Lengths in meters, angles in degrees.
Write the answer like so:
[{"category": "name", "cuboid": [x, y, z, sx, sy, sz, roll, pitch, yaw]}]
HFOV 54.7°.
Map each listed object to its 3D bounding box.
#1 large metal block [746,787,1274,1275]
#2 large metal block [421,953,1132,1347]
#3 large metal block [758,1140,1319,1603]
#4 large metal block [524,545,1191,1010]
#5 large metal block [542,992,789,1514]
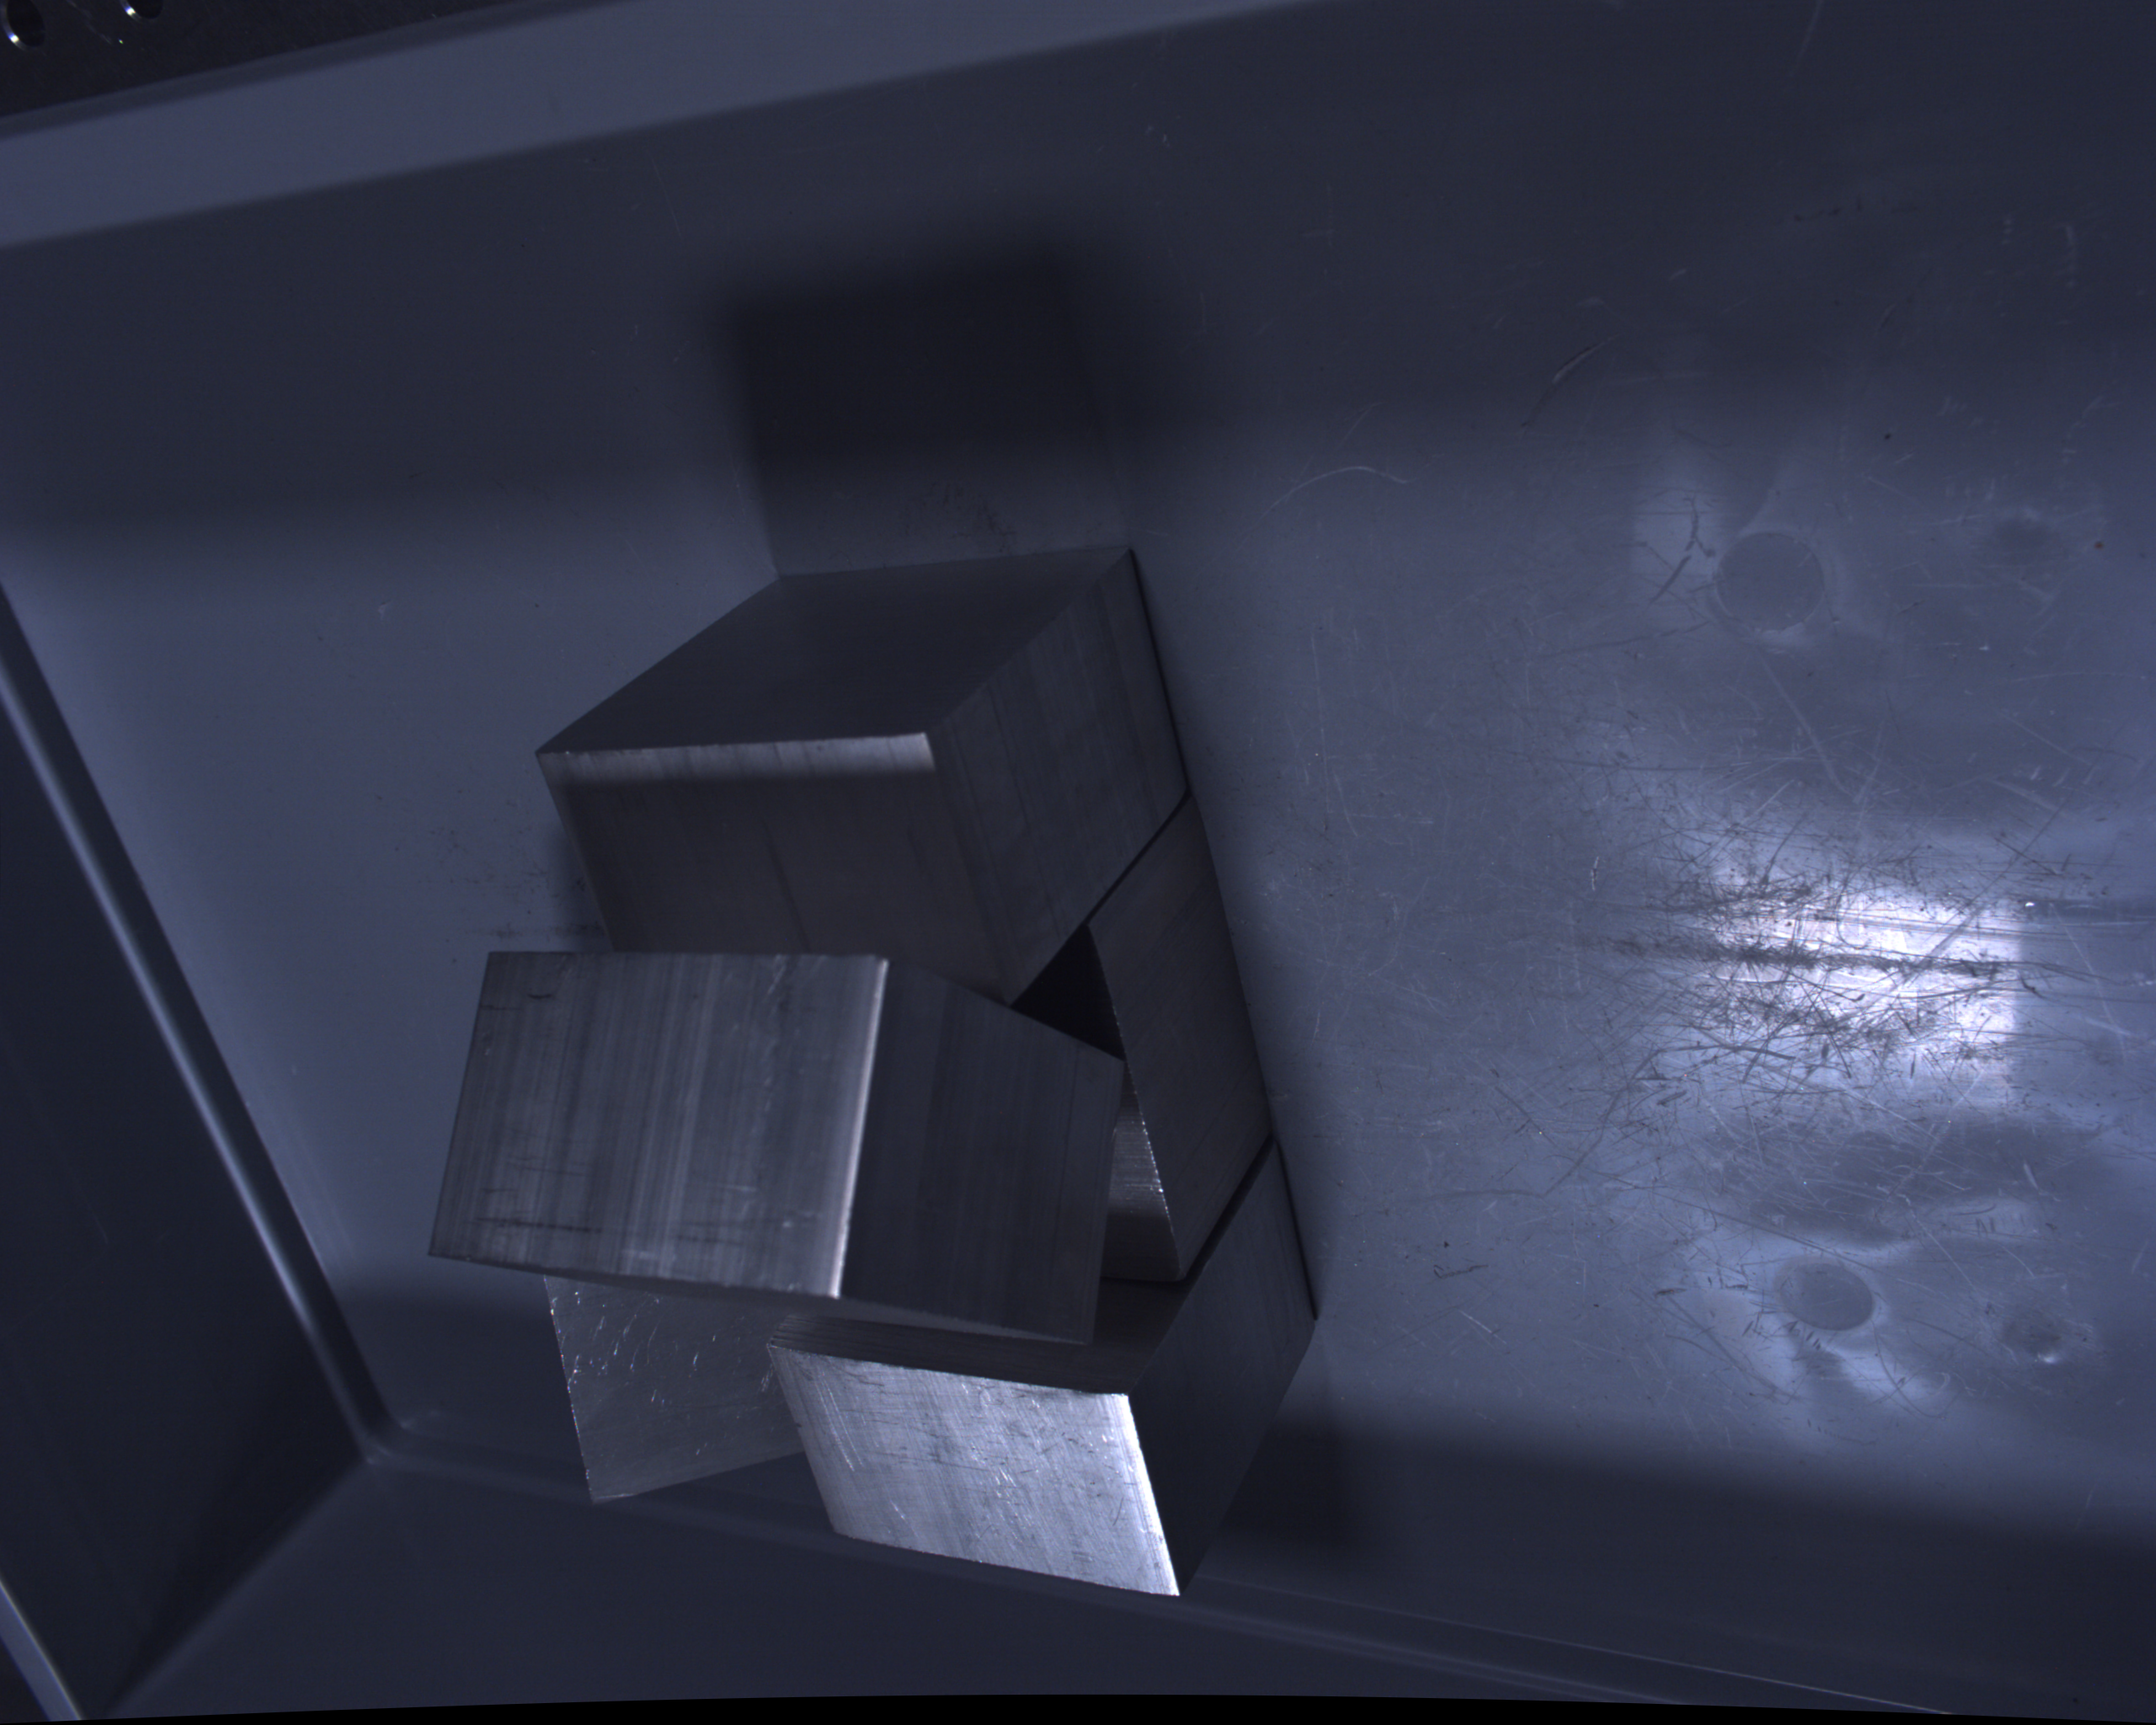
[{"category": "large metal block", "cuboid": [-0.014, 0.032, 0.419, 0.080, 0.050, 0.080, -1, 118, 28]}, {"category": "large metal block", "cuboid": [-0.047, 0.049, 0.352, 0.080, 0.080, 0.050, -1, 73, 28]}, {"category": "large metal block", "cuboid": [-0.005, 0.098, 0.432, 0.080, 0.080, 0.050, 1, 119, 27]}, {"category": "large metal block", "cuboid": [-0.036, -0.016, 0.378, 0.080, 0.080, 0.050, -1, 118, 28]}, {"category": "large metal block", "cuboid": [-0.092, 0.079, 0.456, 0.050, 0.080, 0.079, -11, 123, -15]}]
